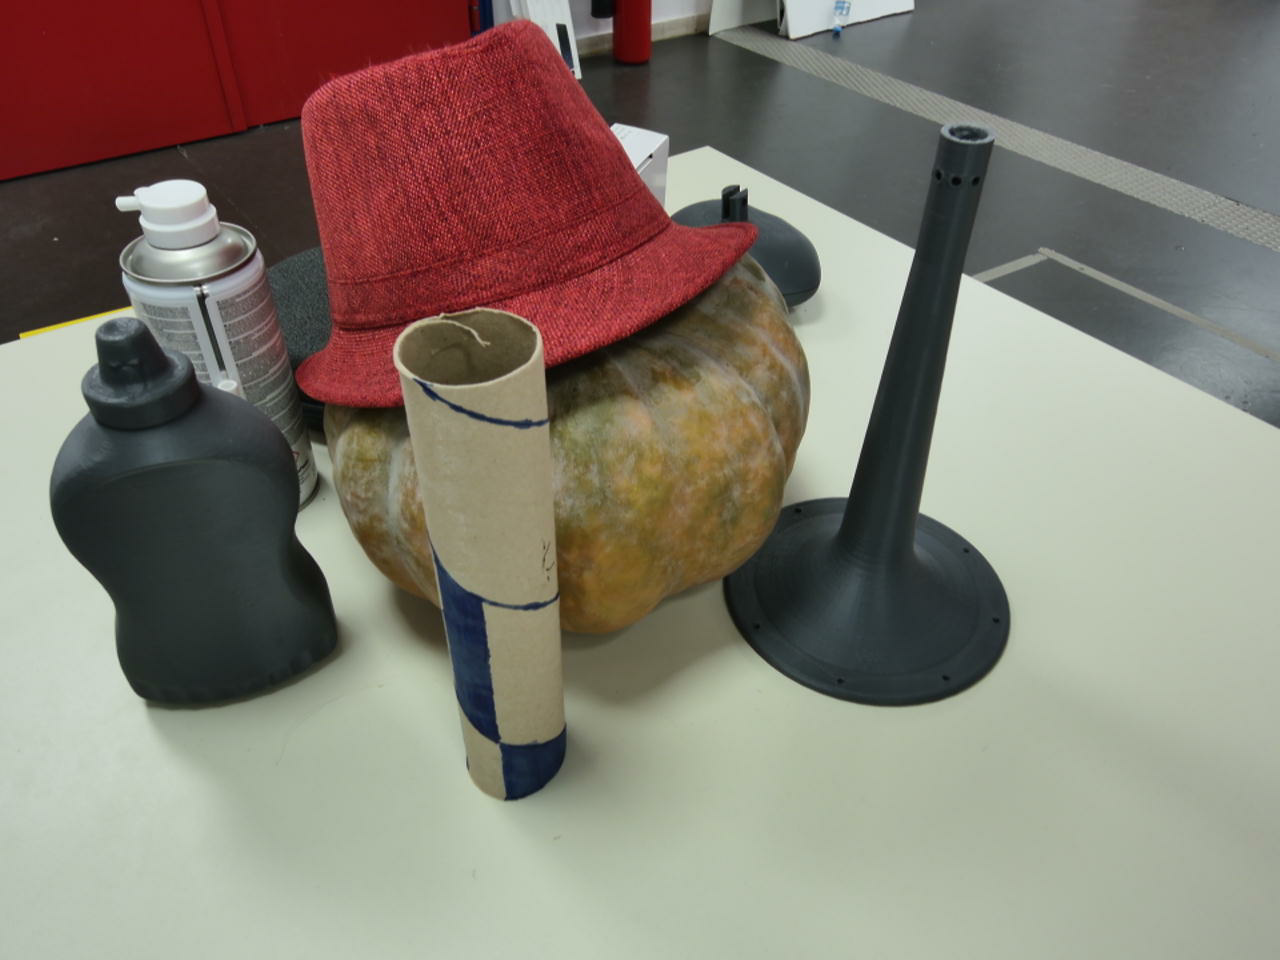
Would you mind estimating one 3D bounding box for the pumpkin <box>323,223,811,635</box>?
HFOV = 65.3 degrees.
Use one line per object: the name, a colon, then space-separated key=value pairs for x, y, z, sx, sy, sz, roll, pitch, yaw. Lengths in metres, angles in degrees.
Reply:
pumpkin: x=-0.039 y=-0.032 z=0.519 sx=0.252 sy=0.169 sz=0.251 roll=0 pitch=38 yaw=0
